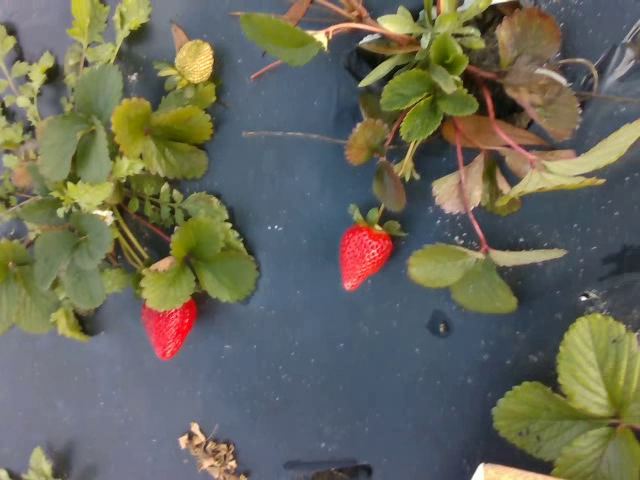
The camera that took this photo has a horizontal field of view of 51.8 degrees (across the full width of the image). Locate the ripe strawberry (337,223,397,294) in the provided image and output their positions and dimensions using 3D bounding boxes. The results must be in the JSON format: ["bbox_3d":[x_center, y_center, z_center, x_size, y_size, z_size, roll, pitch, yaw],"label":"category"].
[{"bbox_3d":[0.026,0.014,0.412,0.044,0.052,0.041,25,-7,-16],"label":"ripe strawberry"}]

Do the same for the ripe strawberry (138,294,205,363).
[{"bbox_3d":[-0.112,0.062,0.471,0.050,0.050,0.046,7,-32,-1],"label":"ripe strawberry"}]
